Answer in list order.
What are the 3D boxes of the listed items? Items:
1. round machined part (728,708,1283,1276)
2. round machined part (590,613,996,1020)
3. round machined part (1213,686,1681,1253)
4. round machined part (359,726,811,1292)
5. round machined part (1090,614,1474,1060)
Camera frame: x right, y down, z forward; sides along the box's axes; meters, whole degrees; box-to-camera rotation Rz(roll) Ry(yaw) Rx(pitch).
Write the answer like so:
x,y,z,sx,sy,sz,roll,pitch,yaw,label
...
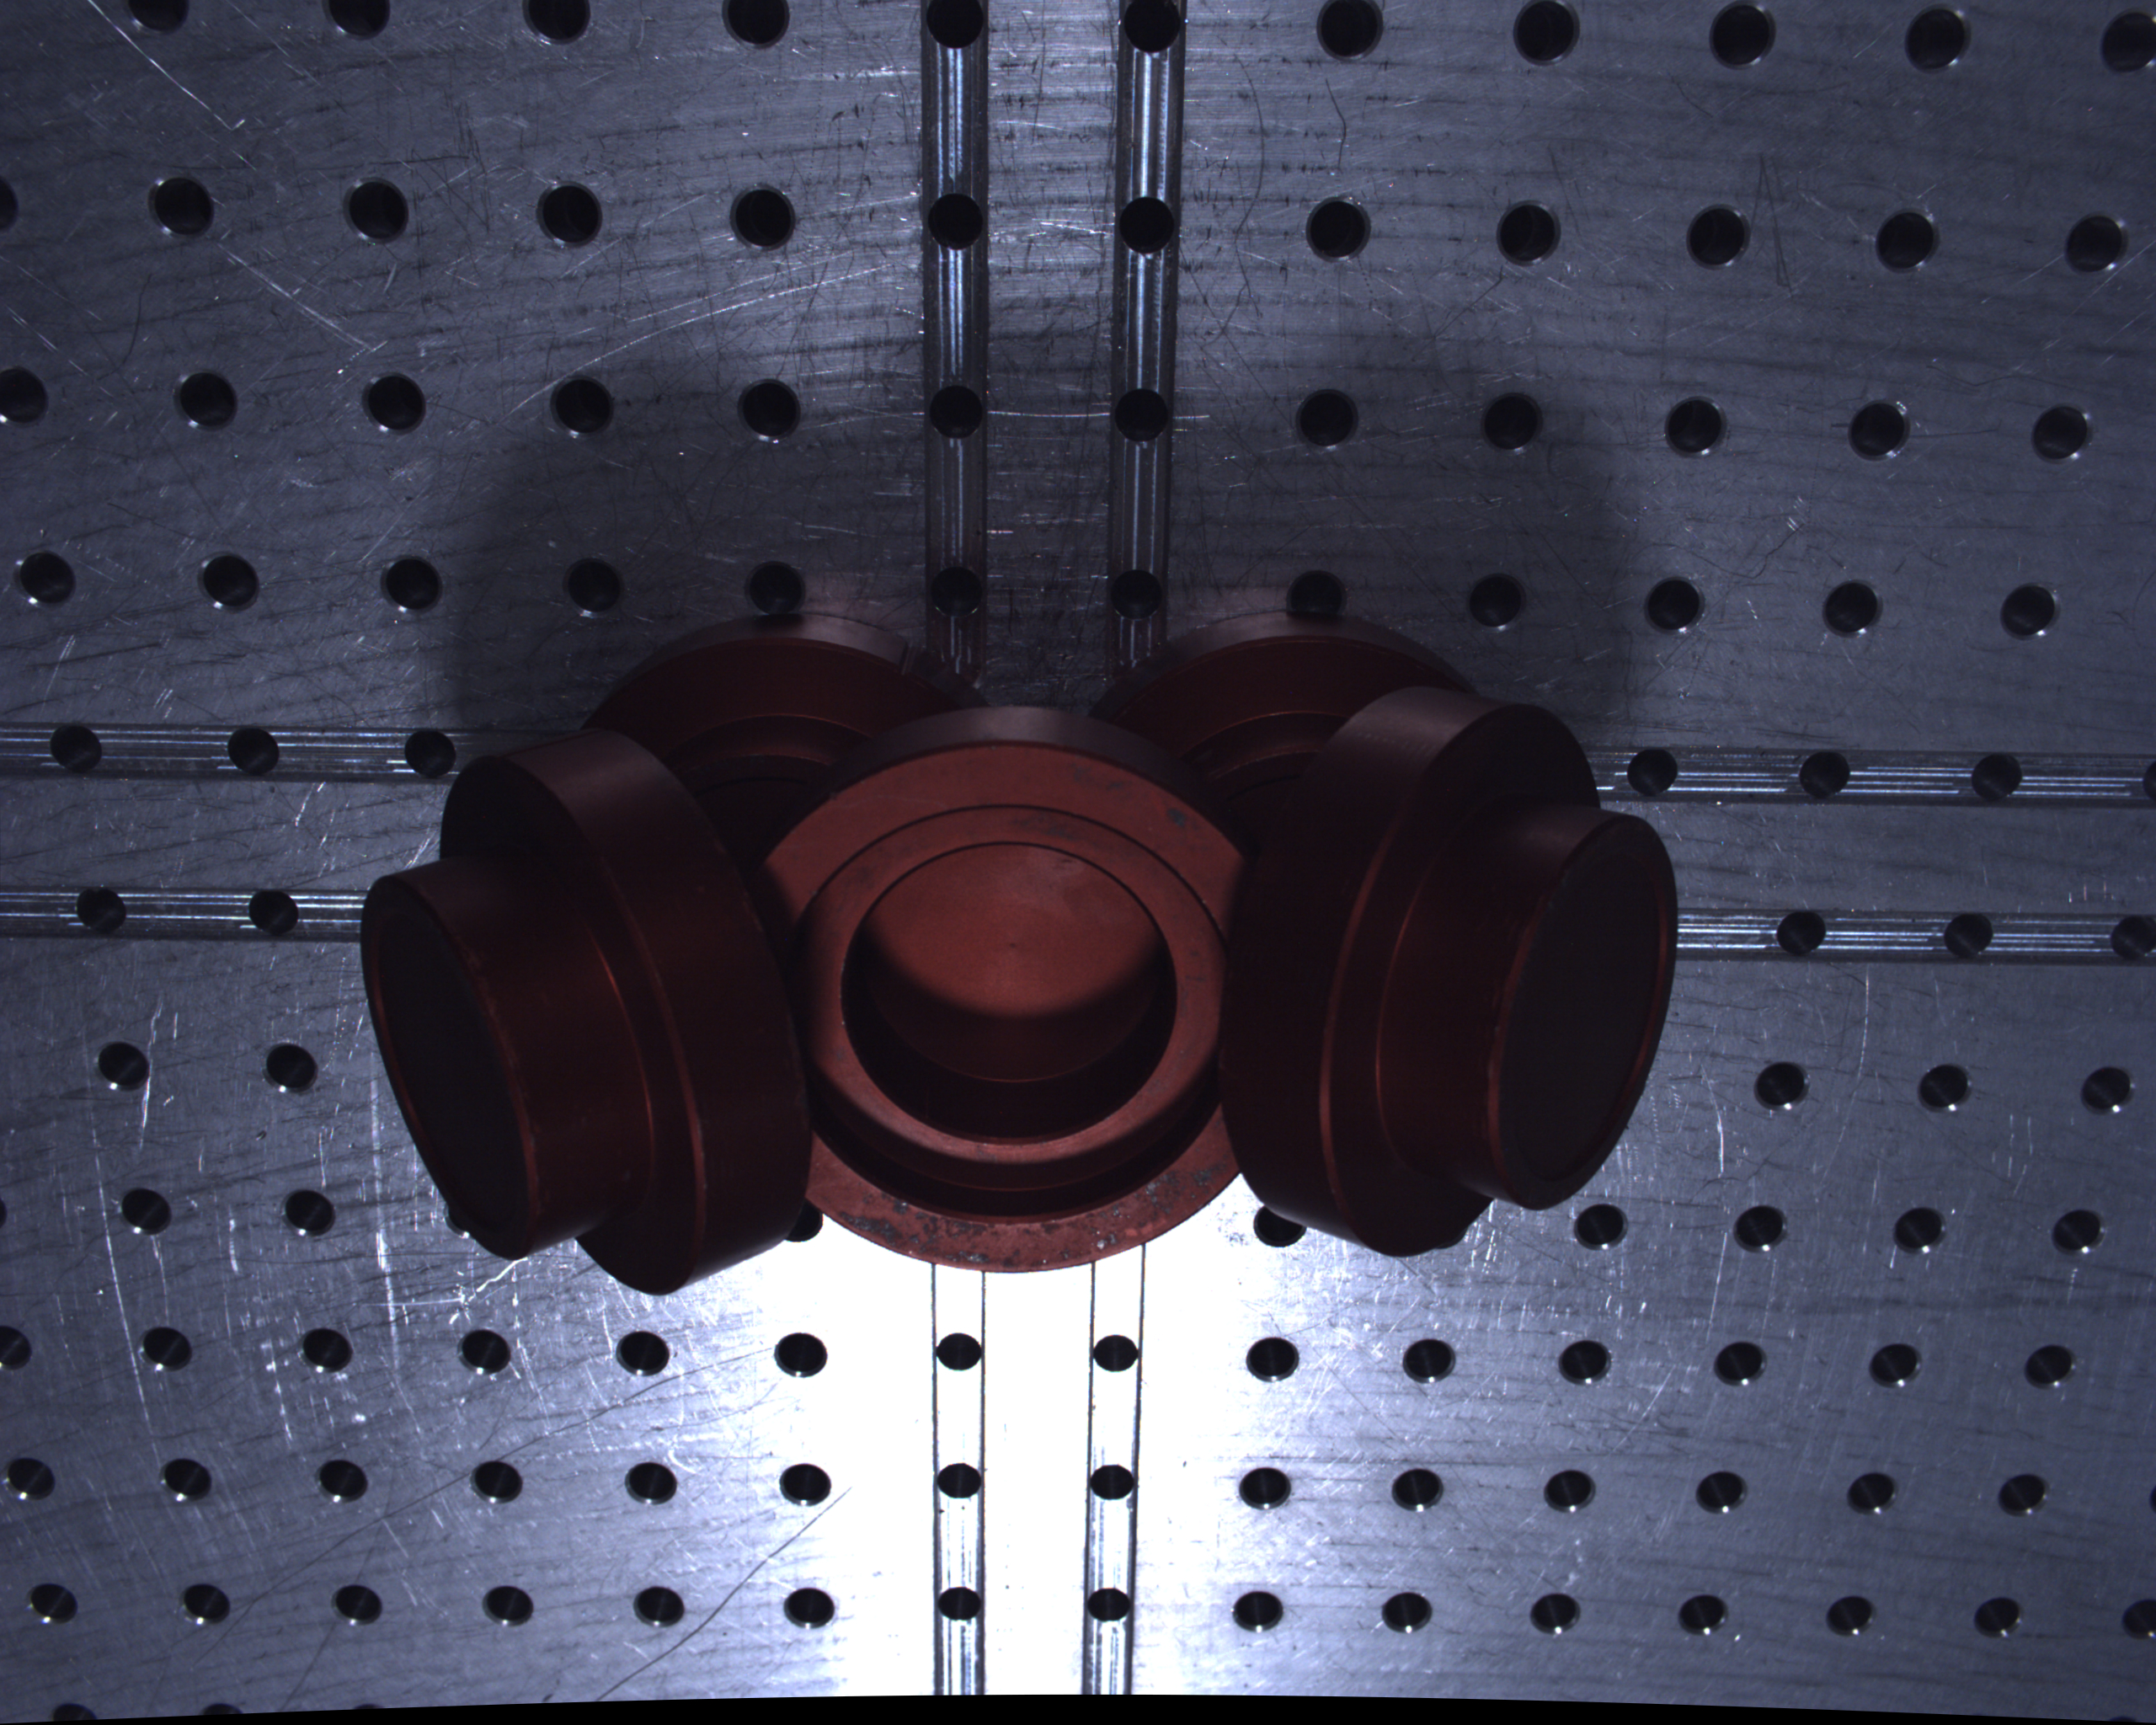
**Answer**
x,y,z,sx,sy,sz,roll,pitch,yaw,label
-0.011,0.019,0.365,0.099,0.042,0.097,0,110,-1,round machined part
-0.056,0.004,0.405,0.099,0.042,0.097,0,110,-1,round machined part
0.069,0.021,0.359,0.042,0.099,0.097,17,116,37,round machined part
-0.090,0.029,0.359,0.042,0.098,0.097,-20,115,-33,round machined part
0.043,0.004,0.406,0.099,0.042,0.097,0,110,-1,round machined part
